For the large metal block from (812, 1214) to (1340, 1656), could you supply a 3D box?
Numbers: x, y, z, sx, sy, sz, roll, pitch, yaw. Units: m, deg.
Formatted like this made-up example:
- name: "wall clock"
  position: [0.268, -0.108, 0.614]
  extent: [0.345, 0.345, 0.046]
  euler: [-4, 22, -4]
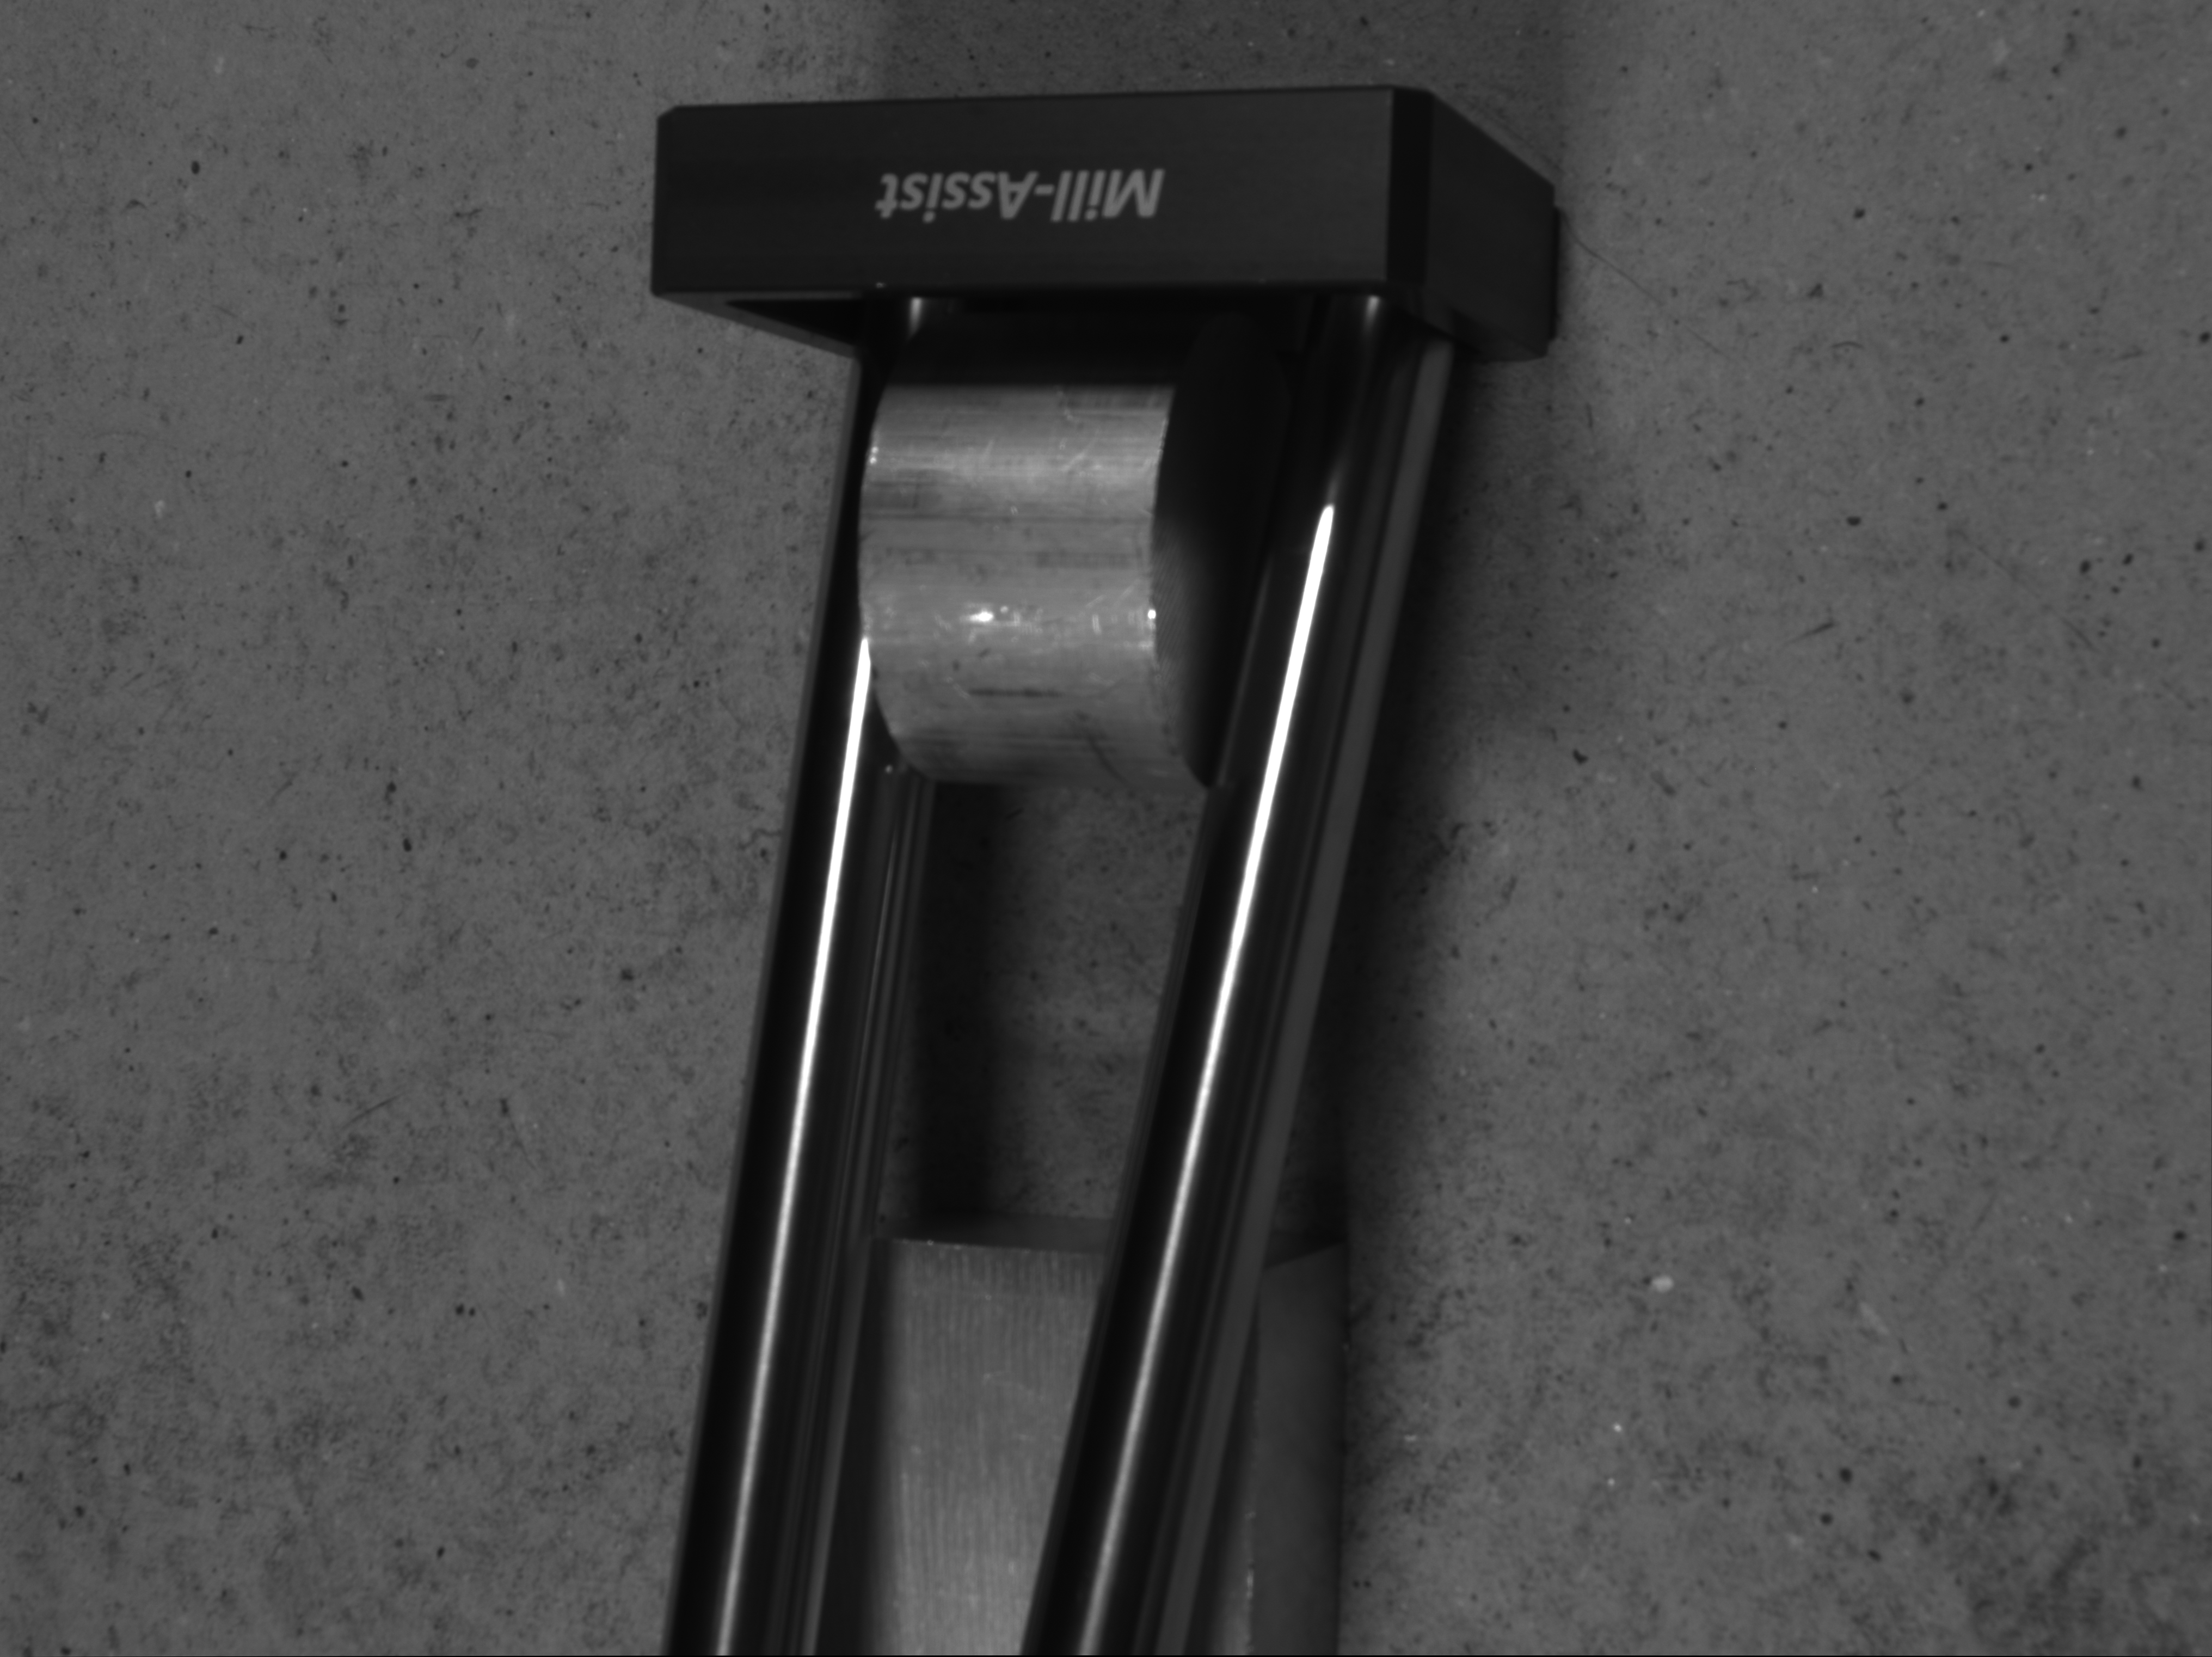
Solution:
- name: "large metal block"
  position: [-0.006, 0.110, 0.631]
  extent: [0.080, 0.050, 0.080]
  euler: [2, 90, 20]

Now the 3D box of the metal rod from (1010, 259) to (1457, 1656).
- name: "metal rod"
  position: [0.016, 0.050, 0.589]
  extent: [0.025, 0.025, 0.300]
  euler: [9, 78, 20]

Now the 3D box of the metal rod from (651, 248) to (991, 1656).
- name: "metal rod"
  position: [-0.050, 0.047, 0.614]
  extent: [0.025, 0.025, 0.300]
  euler: [2, 75, 20]

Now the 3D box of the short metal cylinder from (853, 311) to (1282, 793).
- name: "short metal cylinder"
  position: [-0.004, -0.047, 0.617]
  extent: [0.050, 0.080, 0.080]
  euler: [2, 91, 19]

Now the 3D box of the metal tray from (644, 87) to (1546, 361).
- name: "metal tray"
  position: [0.000, -0.098, 0.610]
  extent: [0.130, 0.090, 0.030]
  euler: [2, 91, 20]
